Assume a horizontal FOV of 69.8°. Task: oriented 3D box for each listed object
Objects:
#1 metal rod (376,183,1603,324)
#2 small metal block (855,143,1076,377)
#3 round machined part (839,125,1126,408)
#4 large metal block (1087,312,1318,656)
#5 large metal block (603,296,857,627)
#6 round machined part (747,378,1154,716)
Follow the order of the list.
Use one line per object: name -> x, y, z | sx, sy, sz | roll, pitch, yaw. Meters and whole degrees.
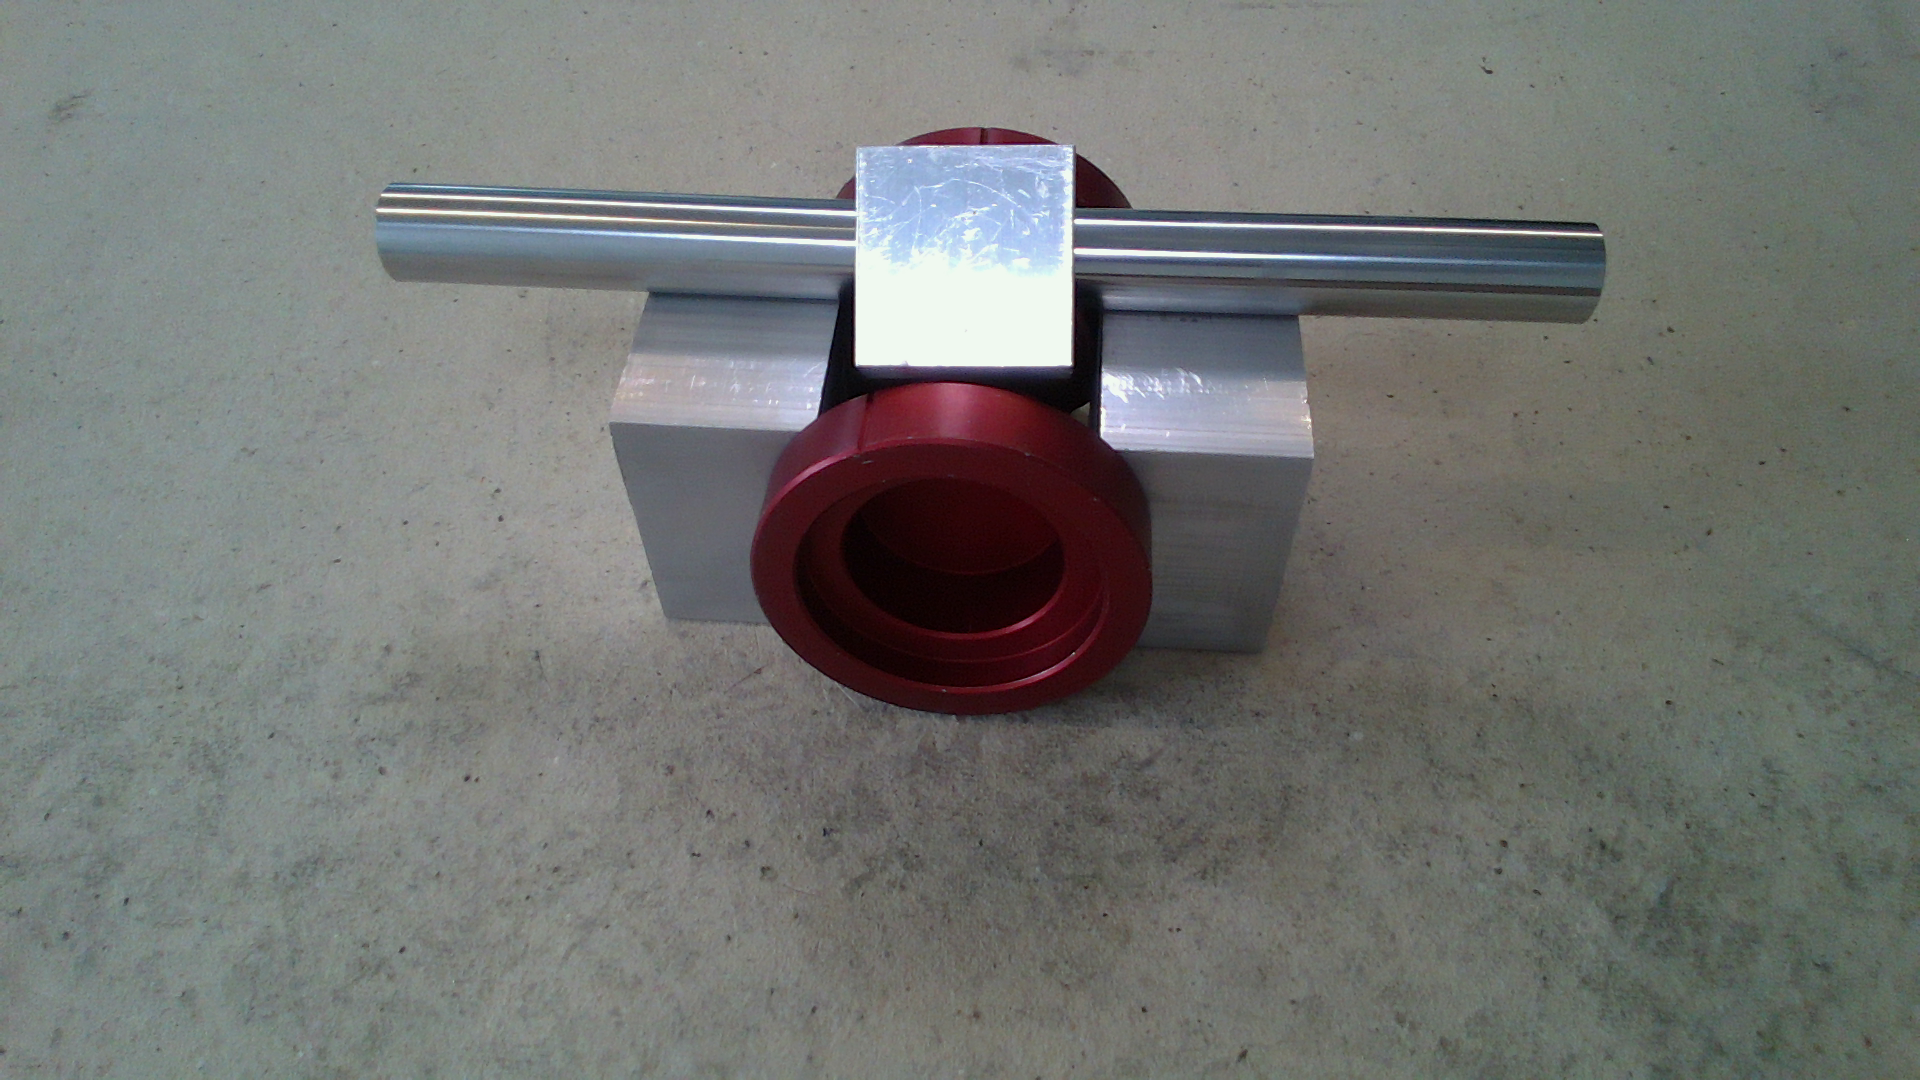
metal rod -> 0.005, -0.073, 0.348 | 0.300, 0.025, 0.025 | 2, 50, 2
small metal block -> 0.002, -0.065, 0.324 | 0.050, 0.025, 0.050 | 0, 90, 2
round machined part -> 0.005, -0.066, 0.400 | 0.098, 0.098, 0.042 | 3, 51, 3
large metal block -> 0.061, -0.025, 0.377 | 0.050, 0.080, 0.080 | 3, 50, 3
large metal block -> -0.057, -0.032, 0.383 | 0.050, 0.080, 0.080 | 3, 50, 3
round machined part -> -0.001, -0.002, 0.346 | 0.098, 0.098, 0.042 | 3, 45, 3
